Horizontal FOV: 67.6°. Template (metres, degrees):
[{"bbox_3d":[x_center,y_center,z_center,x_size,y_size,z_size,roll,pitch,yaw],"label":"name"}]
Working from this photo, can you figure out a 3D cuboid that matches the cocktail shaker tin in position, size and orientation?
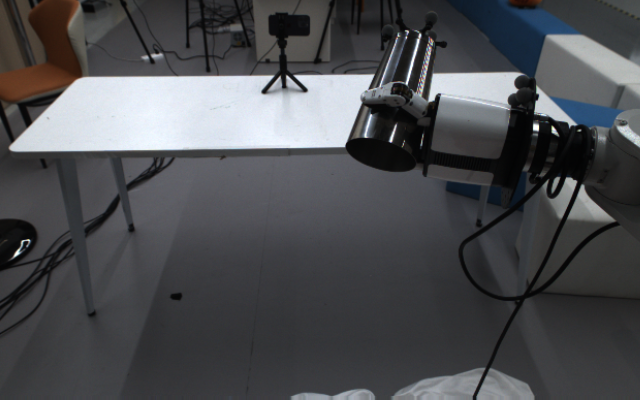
[{"bbox_3d":[0.101,-0.133,0.635,0.093,0.093,0.170,13,72,16],"label":"cocktail shaker tin"}]
